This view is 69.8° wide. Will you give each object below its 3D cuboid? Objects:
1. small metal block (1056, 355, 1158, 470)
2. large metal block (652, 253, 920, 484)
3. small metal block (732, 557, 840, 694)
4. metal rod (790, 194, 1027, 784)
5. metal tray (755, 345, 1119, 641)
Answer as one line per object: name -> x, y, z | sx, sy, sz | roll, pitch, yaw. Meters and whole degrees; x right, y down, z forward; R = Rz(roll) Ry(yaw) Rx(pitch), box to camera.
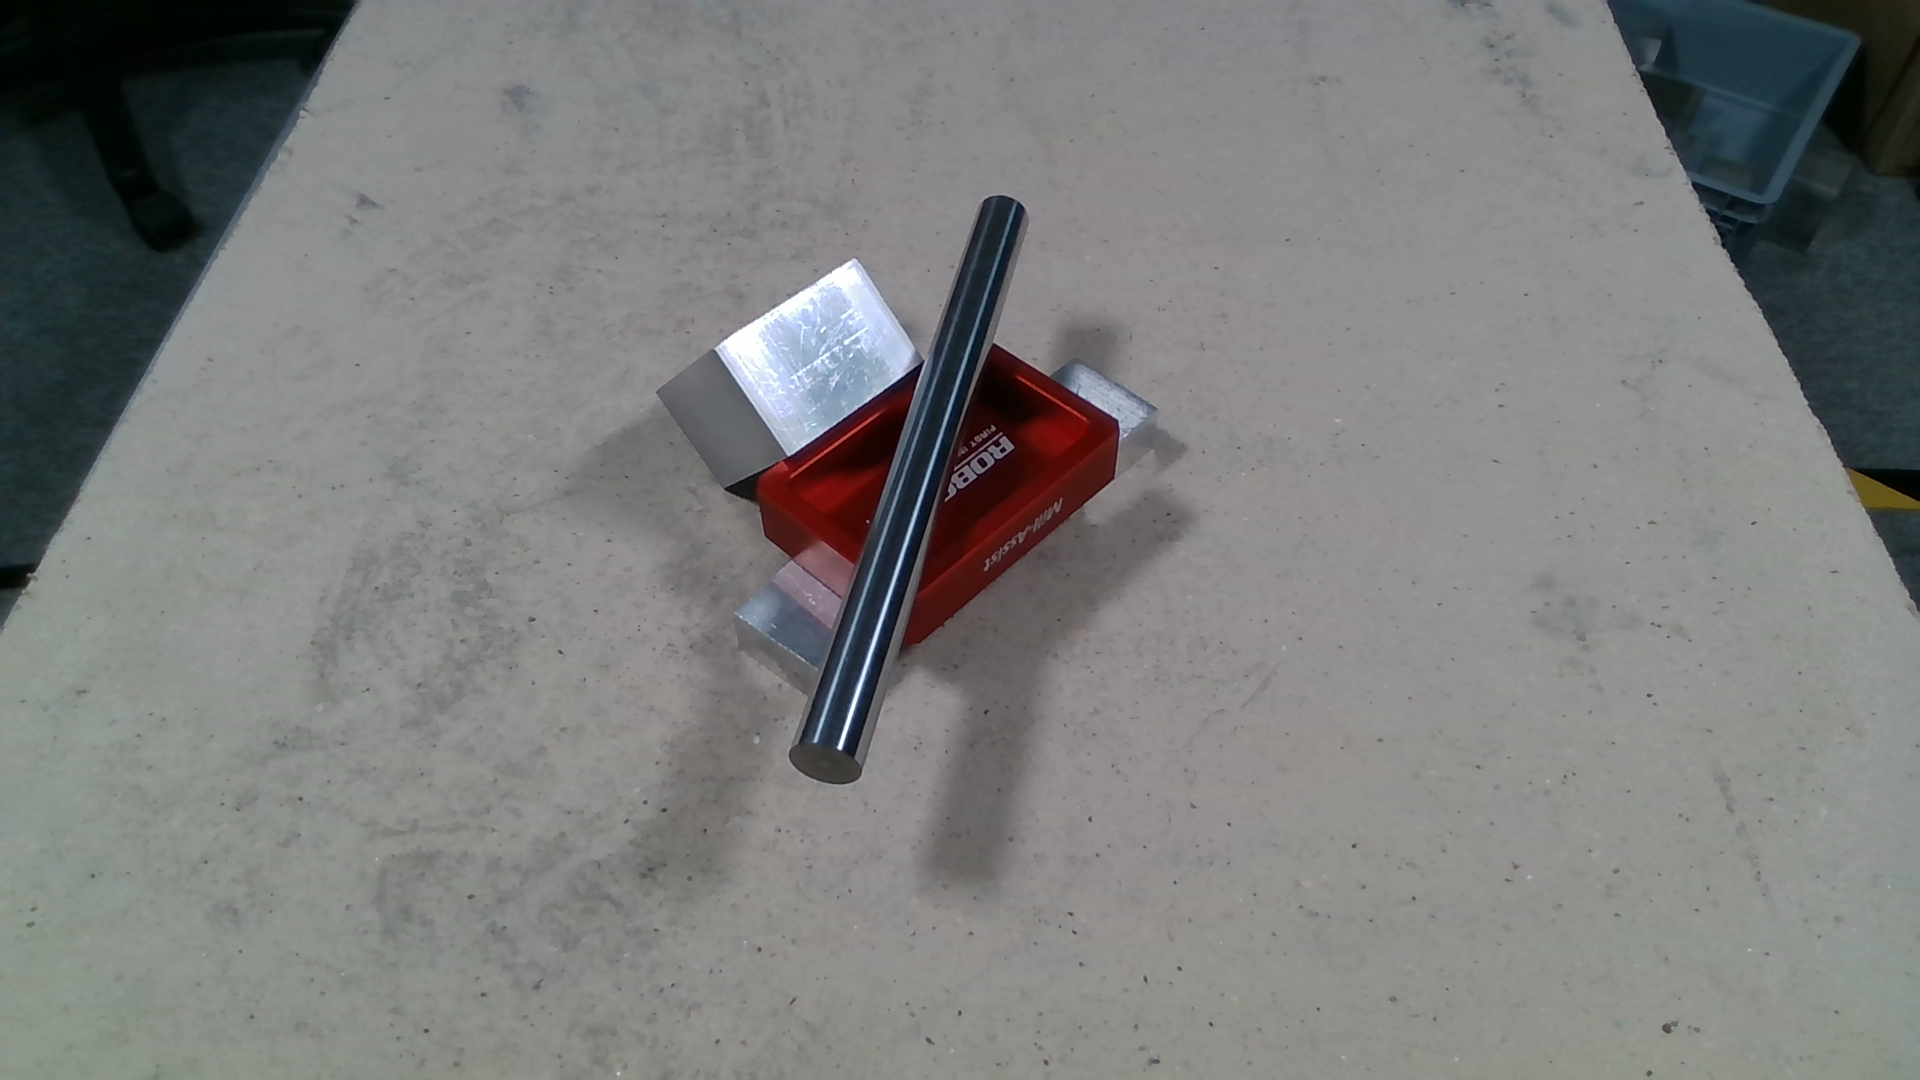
small metal block -> 0.054, -0.051, 0.630 | 0.050, 0.025, 0.050 | 37, 59, 27
large metal block -> -0.076, -0.073, 0.601 | 0.080, 0.080, 0.050 | -39, 102, -28
small metal block -> -0.056, 0.033, 0.560 | 0.050, 0.025, 0.050 | 31, 57, 23
metal rod -> -0.012, -0.038, 0.547 | 0.025, 0.025, 0.299 | 9, 51, 8
metal tray -> -0.008, -0.027, 0.572 | 0.090, 0.030, 0.130 | 36, 59, 26
